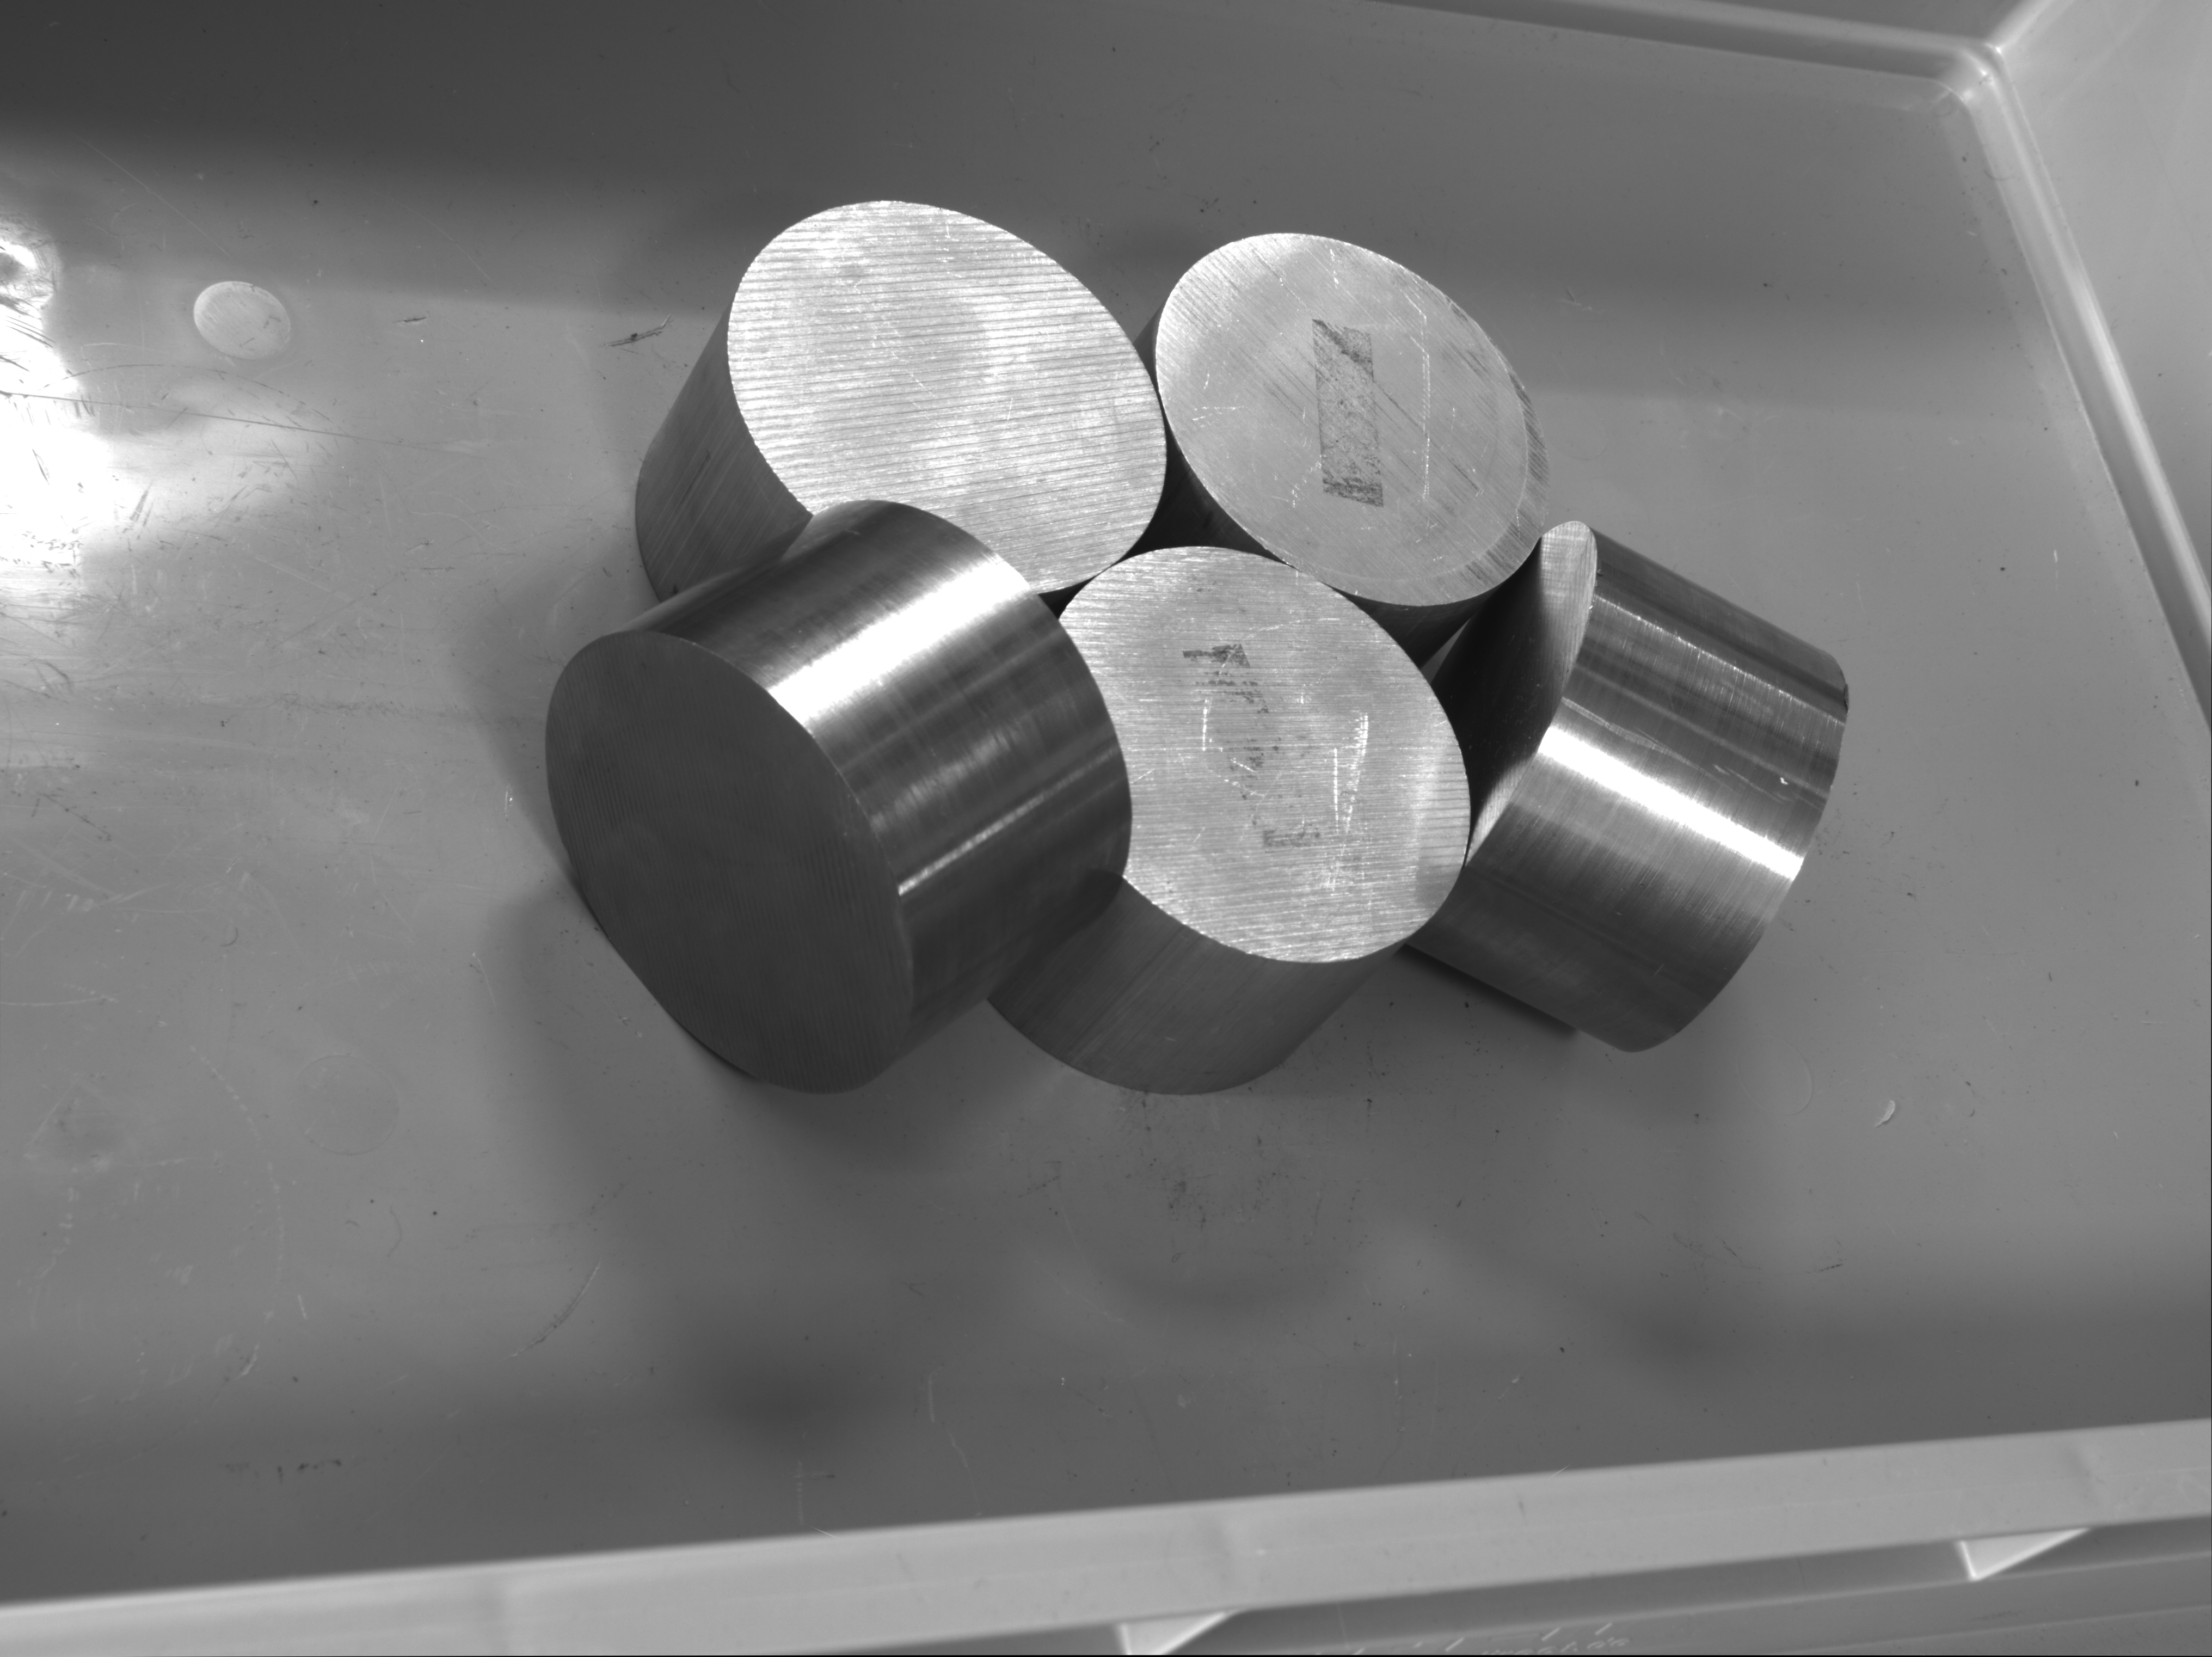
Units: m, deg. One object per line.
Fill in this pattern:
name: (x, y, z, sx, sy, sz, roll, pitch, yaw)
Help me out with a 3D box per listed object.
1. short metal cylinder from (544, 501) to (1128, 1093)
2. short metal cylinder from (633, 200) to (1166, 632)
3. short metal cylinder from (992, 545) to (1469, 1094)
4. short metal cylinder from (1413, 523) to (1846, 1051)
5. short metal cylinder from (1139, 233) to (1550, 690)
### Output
short metal cylinder: (-0.043, -0.005, 0.582, 0.050, 0.080, 0.080, -34, 81, -38)
short metal cylinder: (-0.036, -0.062, 0.640, 0.080, 0.050, 0.080, 14, 56, -21)
short metal cylinder: (0.015, -0.001, 0.630, 0.080, 0.050, 0.080, 14, 56, -21)
short metal cylinder: (0.088, -0.007, 0.653, 0.050, 0.080, 0.080, 26, 52, -11)
short metal cylinder: (0.035, -0.062, 0.678, 0.080, 0.050, 0.080, 14, 56, -21)
